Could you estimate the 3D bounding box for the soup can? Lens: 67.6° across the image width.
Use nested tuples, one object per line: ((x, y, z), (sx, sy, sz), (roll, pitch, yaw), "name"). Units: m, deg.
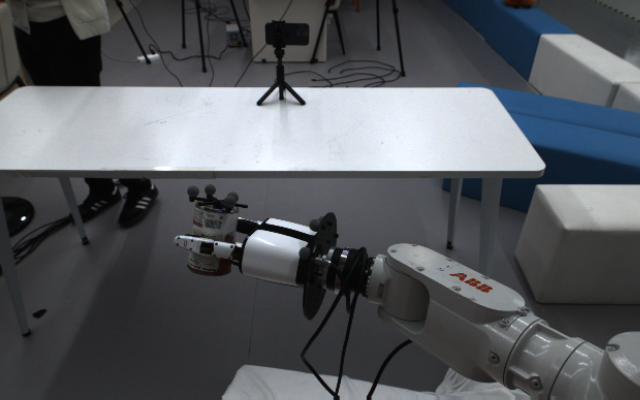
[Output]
((-0.162, 0.059, 0.740), (0.067, 0.101, 0.067), (10, 9, -2), "soup can")
